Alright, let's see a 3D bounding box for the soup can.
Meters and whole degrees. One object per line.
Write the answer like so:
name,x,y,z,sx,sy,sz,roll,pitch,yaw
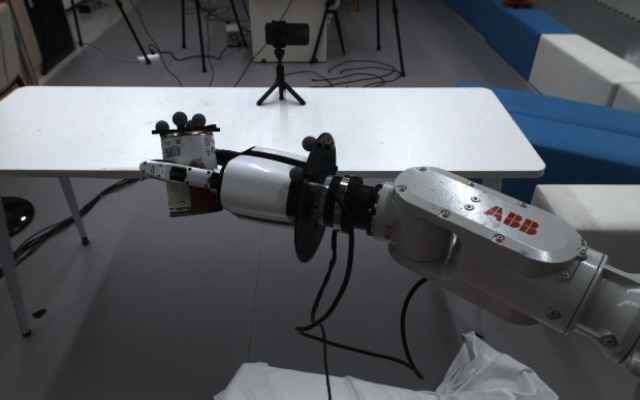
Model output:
soup can,-0.162,-0.031,0.619,0.067,0.101,0.067,-7,2,0
